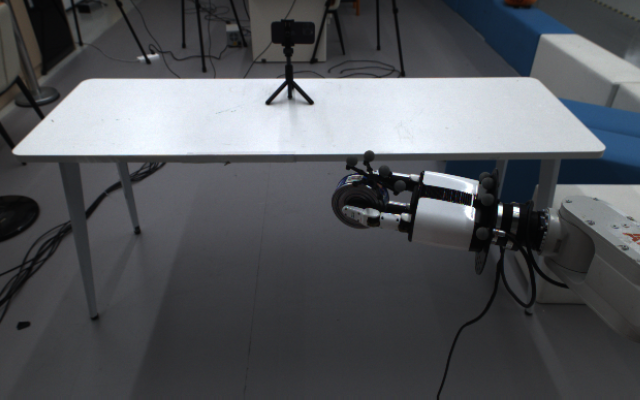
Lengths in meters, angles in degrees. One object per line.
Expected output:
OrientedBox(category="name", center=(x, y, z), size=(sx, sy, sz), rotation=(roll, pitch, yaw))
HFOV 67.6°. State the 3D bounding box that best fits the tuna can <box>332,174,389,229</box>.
OrientedBox(category="tuna can", center=(0.065, 0.009, 0.745), size=(0.085, 0.085, 0.034), rotation=(12, 35, 14))
